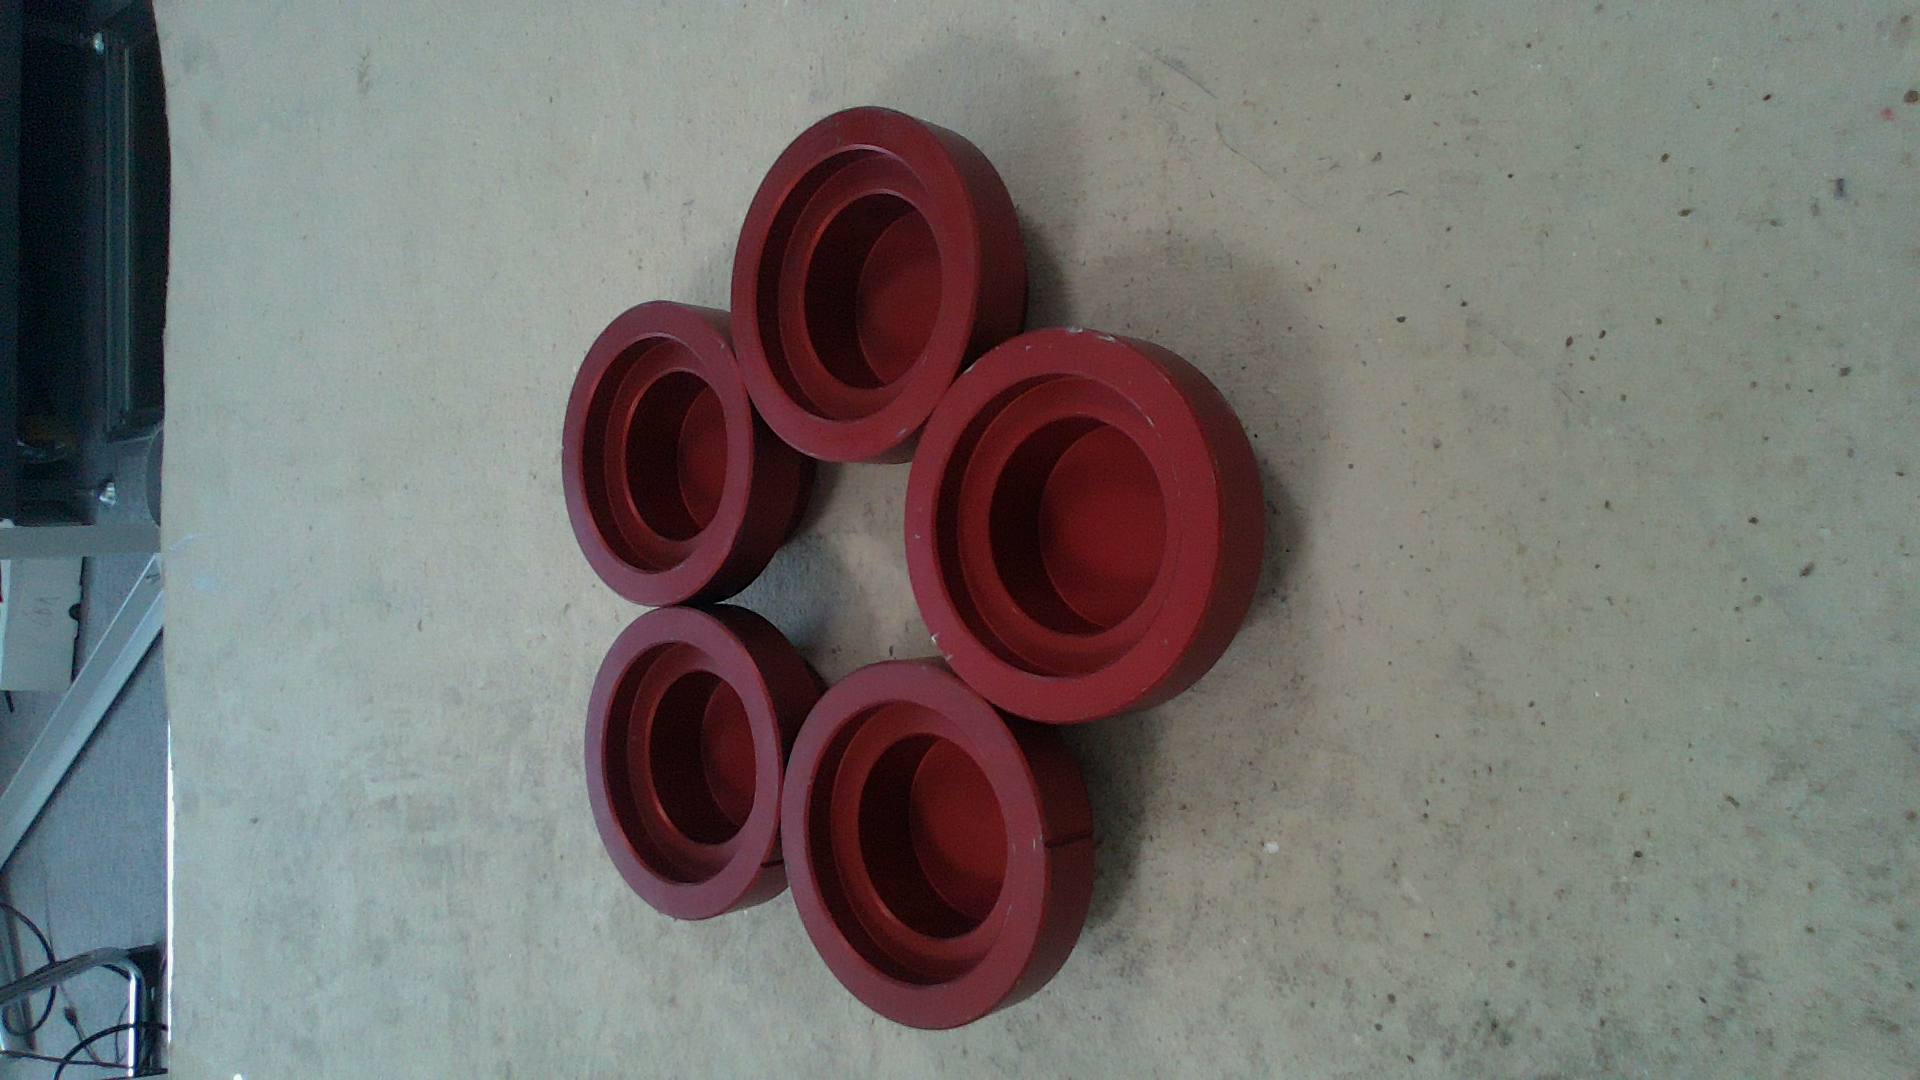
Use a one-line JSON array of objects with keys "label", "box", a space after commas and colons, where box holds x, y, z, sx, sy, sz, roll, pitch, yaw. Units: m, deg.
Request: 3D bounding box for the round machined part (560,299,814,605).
[{"label": "round machined part", "box": [-0.087, -0.028, 0.457, 0.098, 0.042, 0.098, -1, 88, 40]}]

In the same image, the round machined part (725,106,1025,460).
[{"label": "round machined part", "box": [-0.020, -0.071, 0.400, 0.098, 0.042, 0.098, -1, 88, 39]}]

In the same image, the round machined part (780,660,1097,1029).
[{"label": "round machined part", "box": [-0.002, 0.082, 0.386, 0.098, 0.042, 0.098, -1, 89, 39]}]

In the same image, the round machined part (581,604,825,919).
[{"label": "round machined part", "box": [-0.077, 0.070, 0.448, 0.098, 0.042, 0.098, -1, 88, 39]}]

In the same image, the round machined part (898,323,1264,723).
[{"label": "round machined part", "box": [0.034, -0.004, 0.354, 0.098, 0.042, 0.098, -1, 88, 39]}]
